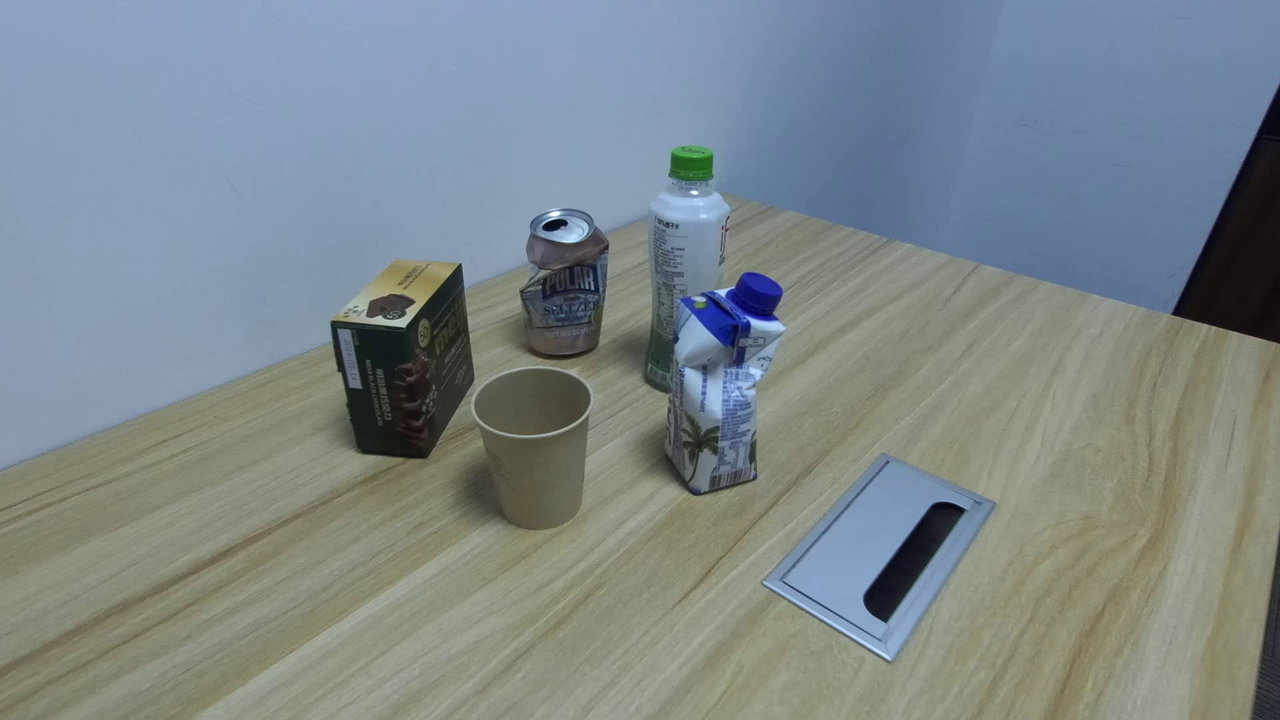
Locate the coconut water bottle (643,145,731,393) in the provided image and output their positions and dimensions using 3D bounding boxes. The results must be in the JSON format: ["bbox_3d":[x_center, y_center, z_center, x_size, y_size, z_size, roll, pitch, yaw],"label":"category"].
[{"bbox_3d":[0.037,-0.066,0.545,0.063,0.189,0.063,1,28,0],"label":"coconut water bottle"}]

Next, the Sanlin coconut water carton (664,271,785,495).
[{"bbox_3d":[0.053,0.015,0.459,0.070,0.144,0.060,-10,34,-19],"label":"Sanlin coconut water carton"}]

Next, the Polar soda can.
[{"bbox_3d":[-0.067,-0.062,0.612,0.066,0.122,0.071,23,38,24],"label":"Polar soda can"}]

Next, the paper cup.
[{"bbox_3d":[-0.065,0.059,0.450,0.075,0.082,0.075,1,32,0],"label":"paper cup"}]

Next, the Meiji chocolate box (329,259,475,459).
[{"bbox_3d":[-0.169,-0.003,0.524,0.056,0.109,0.110,4,31,6],"label":"Meiji chocolate box"}]
